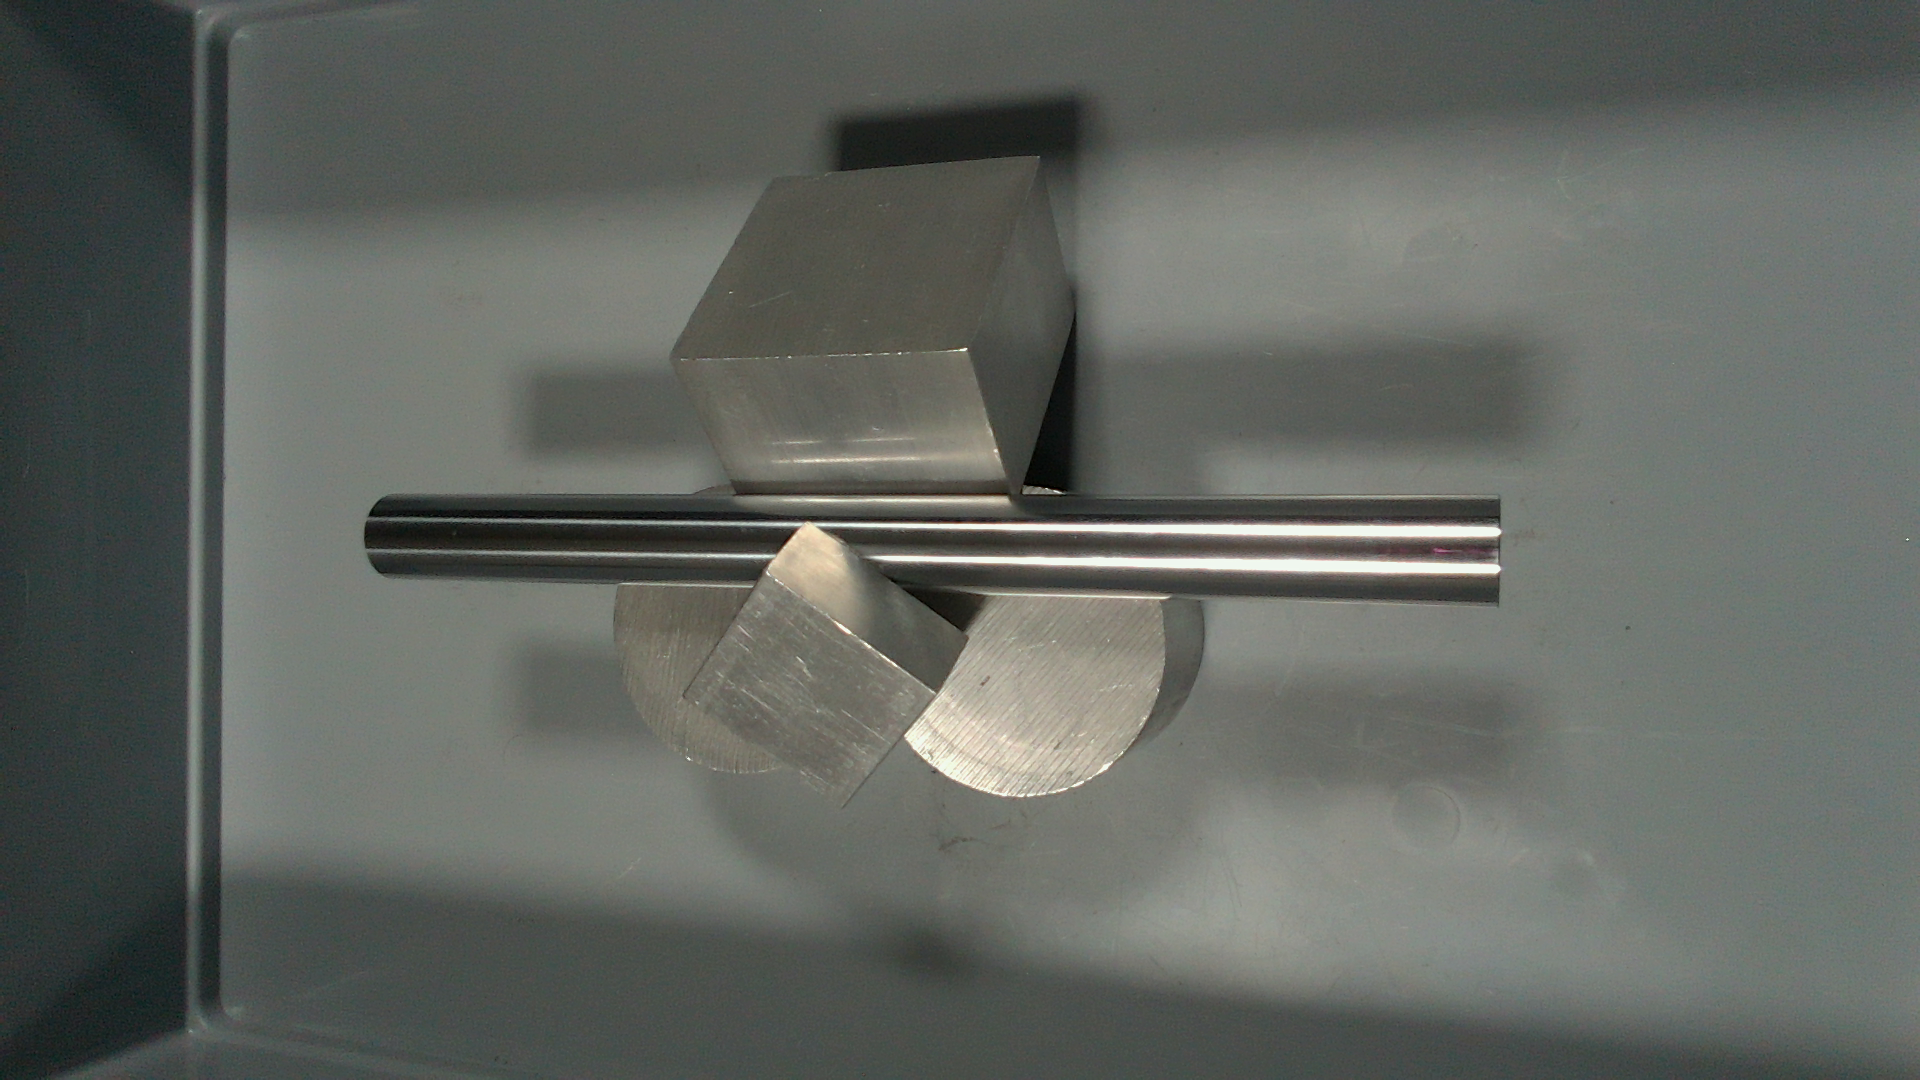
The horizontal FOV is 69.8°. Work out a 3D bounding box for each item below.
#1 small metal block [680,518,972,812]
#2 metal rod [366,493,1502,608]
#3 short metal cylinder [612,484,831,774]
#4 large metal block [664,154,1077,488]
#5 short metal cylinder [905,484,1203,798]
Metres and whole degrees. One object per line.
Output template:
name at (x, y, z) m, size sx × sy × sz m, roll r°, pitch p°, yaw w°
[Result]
small metal block at (-0.034, 0.032, 0.342) m, size 0.050 × 0.025 × 0.050 m, roll 36°, pitch 124°, yaw -2°
metal rod at (-0.023, 0.001, 0.350) m, size 0.299 × 0.025 × 0.025 m, roll 1°, pitch 90°, yaw 20°
short metal cylinder at (-0.053, 0.024, 0.401) m, size 0.080 × 0.050 × 0.080 m, roll 0°, pitch 90°, yaw 20°
large metal block at (-0.019, -0.056, 0.366) m, size 0.080 × 0.050 × 0.080 m, roll 1°, pitch 47°, yaw 20°
short metal cylinder at (0.022, 0.026, 0.374) m, size 0.080 × 0.050 × 0.080 m, roll 0°, pitch 90°, yaw 20°
